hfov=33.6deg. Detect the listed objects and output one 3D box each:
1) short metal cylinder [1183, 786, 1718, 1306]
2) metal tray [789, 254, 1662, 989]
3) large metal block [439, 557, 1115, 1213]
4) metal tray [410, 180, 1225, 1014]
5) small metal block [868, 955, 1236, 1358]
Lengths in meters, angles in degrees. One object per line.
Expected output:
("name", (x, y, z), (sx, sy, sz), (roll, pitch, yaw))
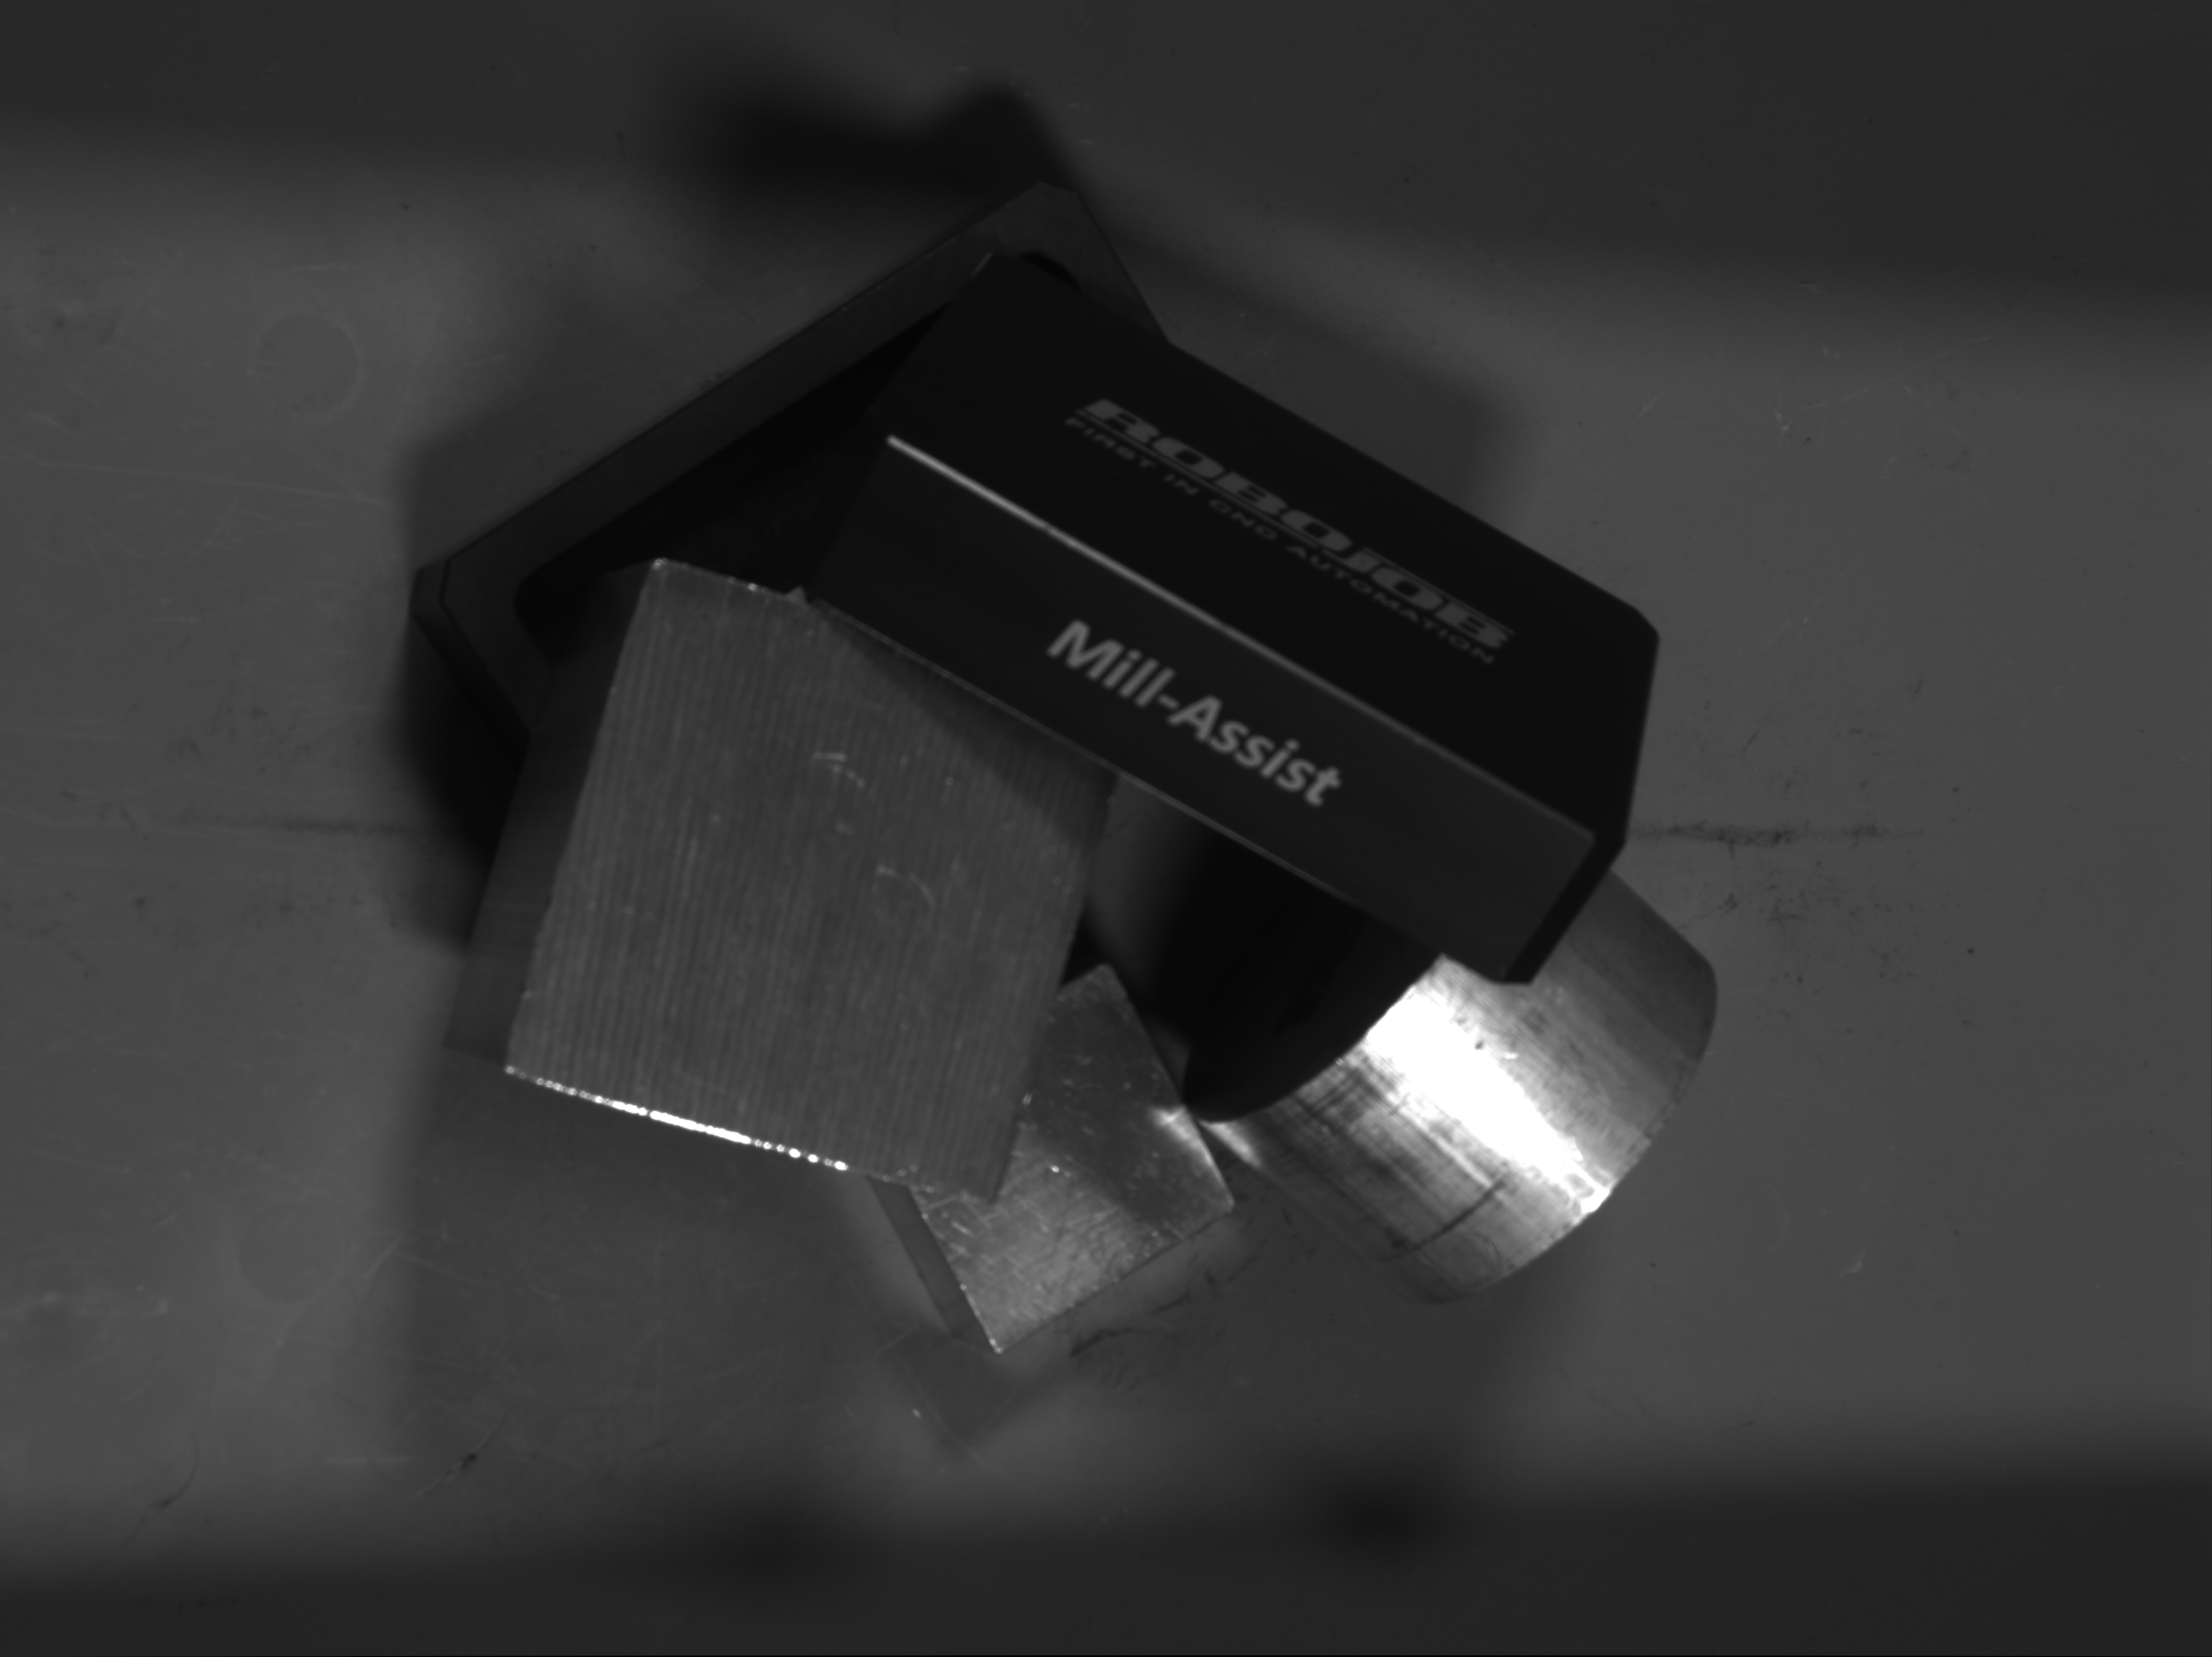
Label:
("short metal cylinder", (0.059, 0.035, 0.635), (0.050, 0.080, 0.080), (41, 77, -15))
("metal tray", (0.023, -0.036, 0.585), (0.130, 0.090, 0.030), (30, 119, -3))
("large metal block", (-0.051, 0.009, 0.576), (0.080, 0.050, 0.080), (18, 84, -19))
("metal tray", (-0.040, -0.039, 0.625), (0.130, 0.030, 0.090), (-36, 101, -16))
("small metal block", (-0.014, 0.056, 0.637), (0.050, 0.025, 0.050), (-30, 100, -17))
